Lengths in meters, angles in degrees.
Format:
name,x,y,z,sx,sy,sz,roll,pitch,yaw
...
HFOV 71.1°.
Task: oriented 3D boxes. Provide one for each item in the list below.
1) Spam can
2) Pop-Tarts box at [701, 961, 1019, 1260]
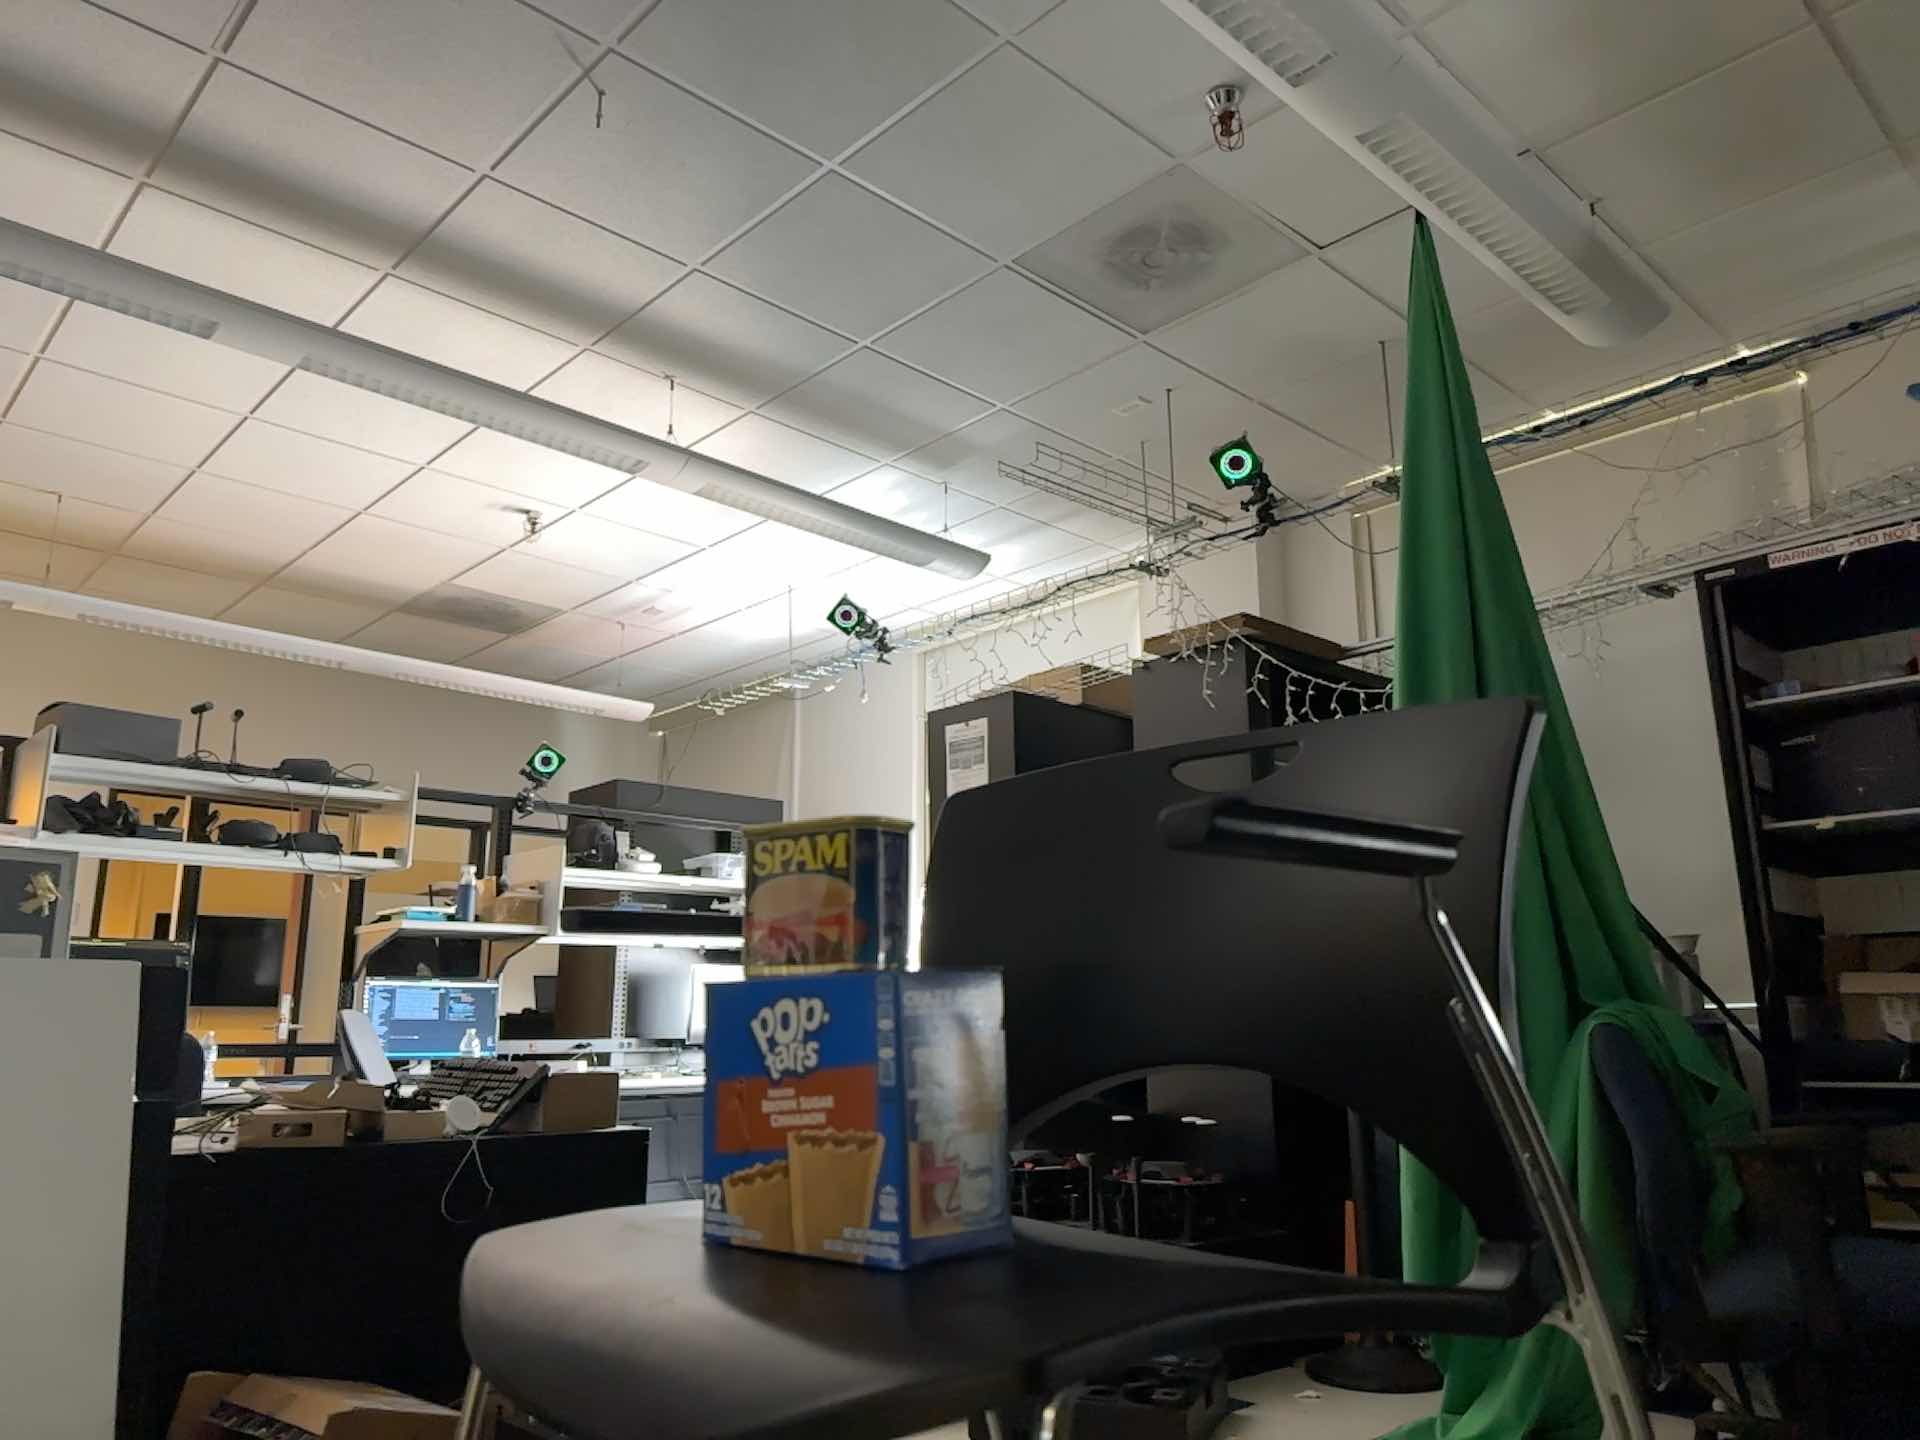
name,x,y,z,sx,sy,sz,roll,pitch,yaw
Spam can,-0.074,0.092,0.753,0.100,0.083,0.056,-8,-11,39
Pop-Tarts box,-0.060,0.204,0.731,0.161,0.135,0.075,-11,-14,42
